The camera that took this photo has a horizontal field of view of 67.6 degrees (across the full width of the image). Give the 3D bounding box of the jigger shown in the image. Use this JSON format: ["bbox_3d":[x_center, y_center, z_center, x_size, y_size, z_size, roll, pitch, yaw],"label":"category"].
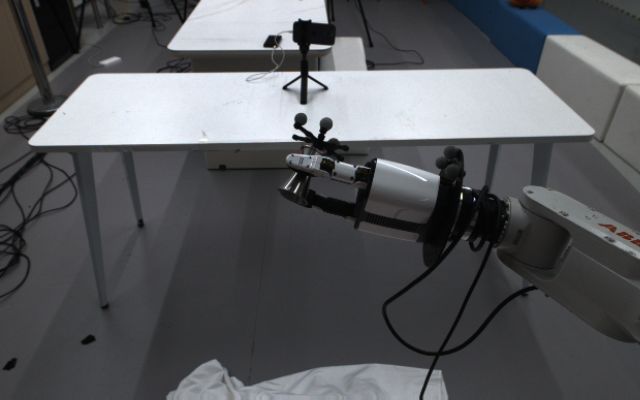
[{"bbox_3d":[-0.022,-0.035,0.631,0.043,0.043,0.071,19,72,23],"label":"jigger"}]
